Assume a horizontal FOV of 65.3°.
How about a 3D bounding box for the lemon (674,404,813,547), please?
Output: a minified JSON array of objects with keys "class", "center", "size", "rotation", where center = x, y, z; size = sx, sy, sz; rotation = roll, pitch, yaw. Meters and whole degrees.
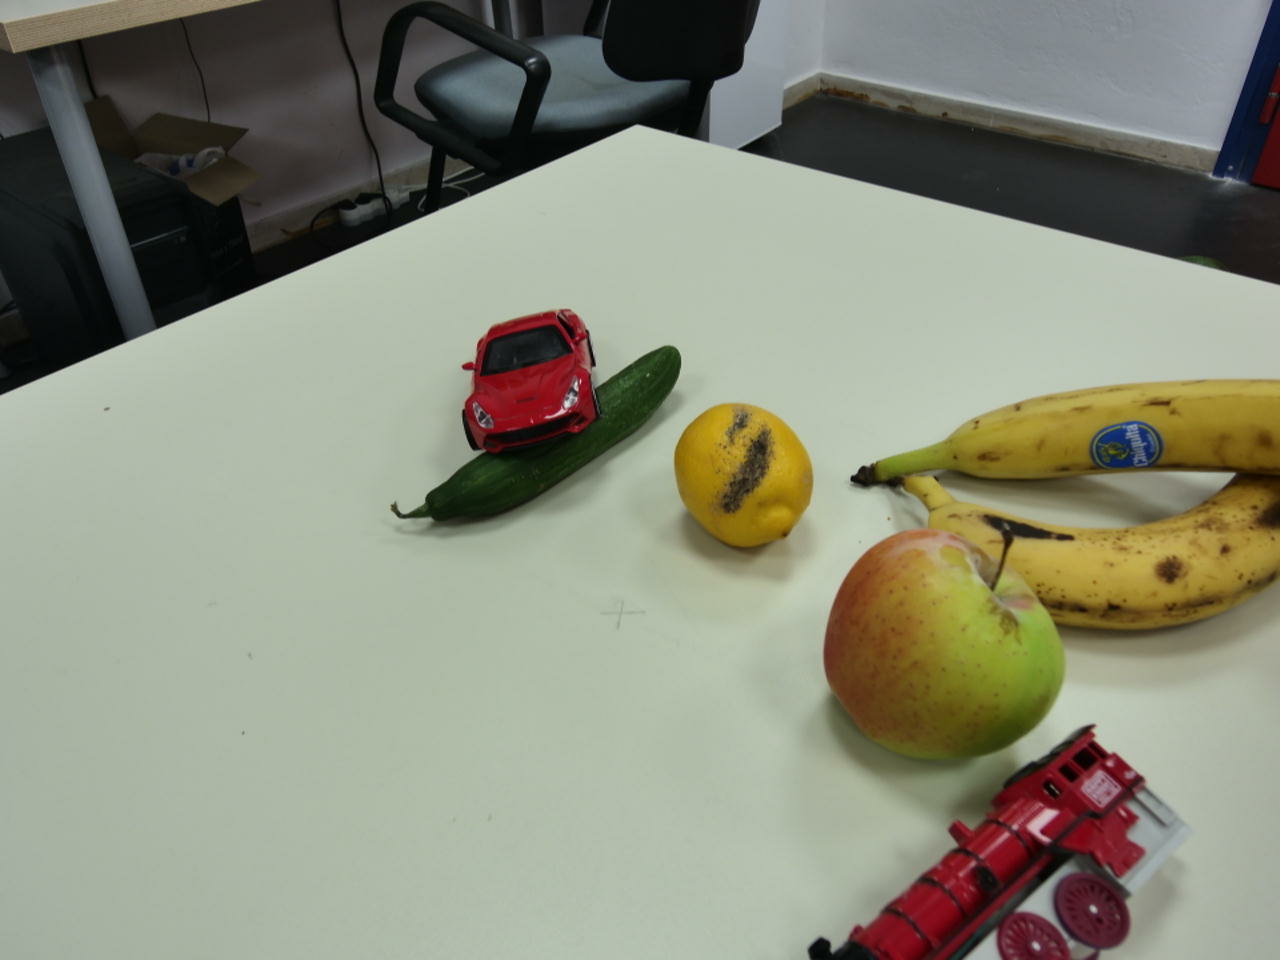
[{"class":"lemon","center":[0.044,-0.002,0.424],"size":[0.061,0.056,0.058],"rotation":[20,41,26]}]
